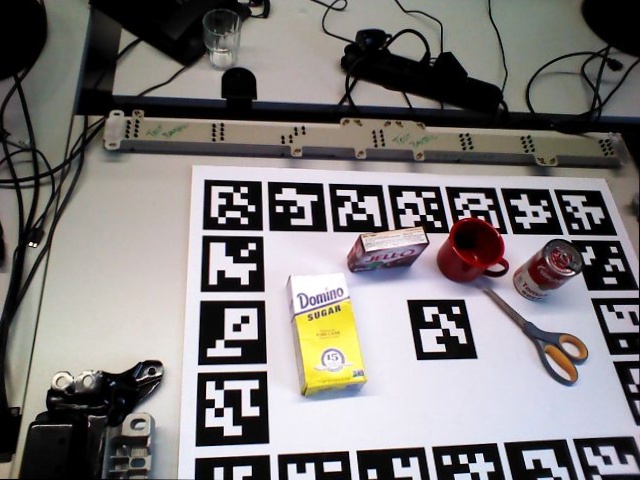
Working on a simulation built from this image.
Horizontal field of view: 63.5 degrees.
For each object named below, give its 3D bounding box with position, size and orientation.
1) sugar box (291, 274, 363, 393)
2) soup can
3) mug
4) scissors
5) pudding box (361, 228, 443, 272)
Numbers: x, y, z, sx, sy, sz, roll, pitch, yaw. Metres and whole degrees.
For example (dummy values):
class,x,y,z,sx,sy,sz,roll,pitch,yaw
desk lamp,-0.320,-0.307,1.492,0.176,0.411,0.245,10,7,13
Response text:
class,x,y,z,sx,sy,sz,roll,pitch,yaw
sugar box,0.009,0.138,0.787,0.093,0.045,0.175,-2,66,-7
soup can,0.390,0.059,0.855,0.068,0.102,0.067,3,62,-6
mug,0.274,0.022,0.860,0.093,0.082,0.117,-34,72,-20
scissors,0.366,0.159,0.840,0.087,0.016,0.203,-42,77,-14
pudding box,0.127,0.015,0.833,0.114,0.090,0.038,-7,71,-12
